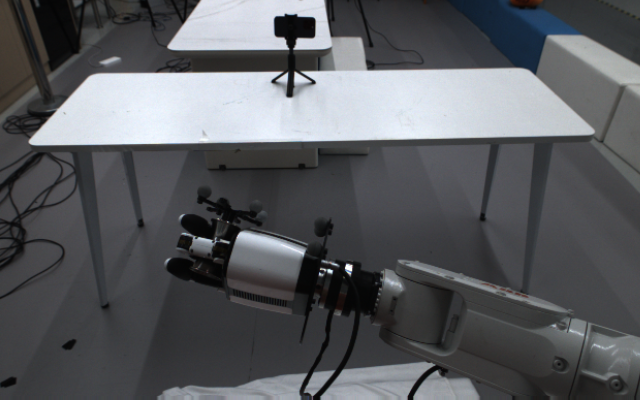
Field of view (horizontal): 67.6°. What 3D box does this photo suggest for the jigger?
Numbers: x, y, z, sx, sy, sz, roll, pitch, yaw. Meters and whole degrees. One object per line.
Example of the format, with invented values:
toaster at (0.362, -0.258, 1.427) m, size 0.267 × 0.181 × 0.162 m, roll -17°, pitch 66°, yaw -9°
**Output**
jigger at (-0.126, 0.062, 0.604) m, size 0.043 × 0.043 × 0.071 m, roll 12°, pitch 71°, yaw 14°
